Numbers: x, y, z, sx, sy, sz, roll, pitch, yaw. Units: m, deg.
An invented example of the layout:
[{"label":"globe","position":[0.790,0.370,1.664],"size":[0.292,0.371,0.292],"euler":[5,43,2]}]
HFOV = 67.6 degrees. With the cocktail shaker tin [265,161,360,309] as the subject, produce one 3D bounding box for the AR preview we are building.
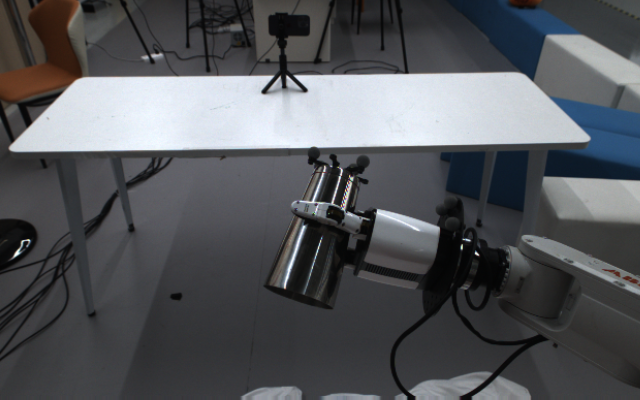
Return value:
[{"label":"cocktail shaker tin","position":[-0.004,0.044,0.624],"size":[0.093,0.093,0.170],"euler":[13,70,15]}]
